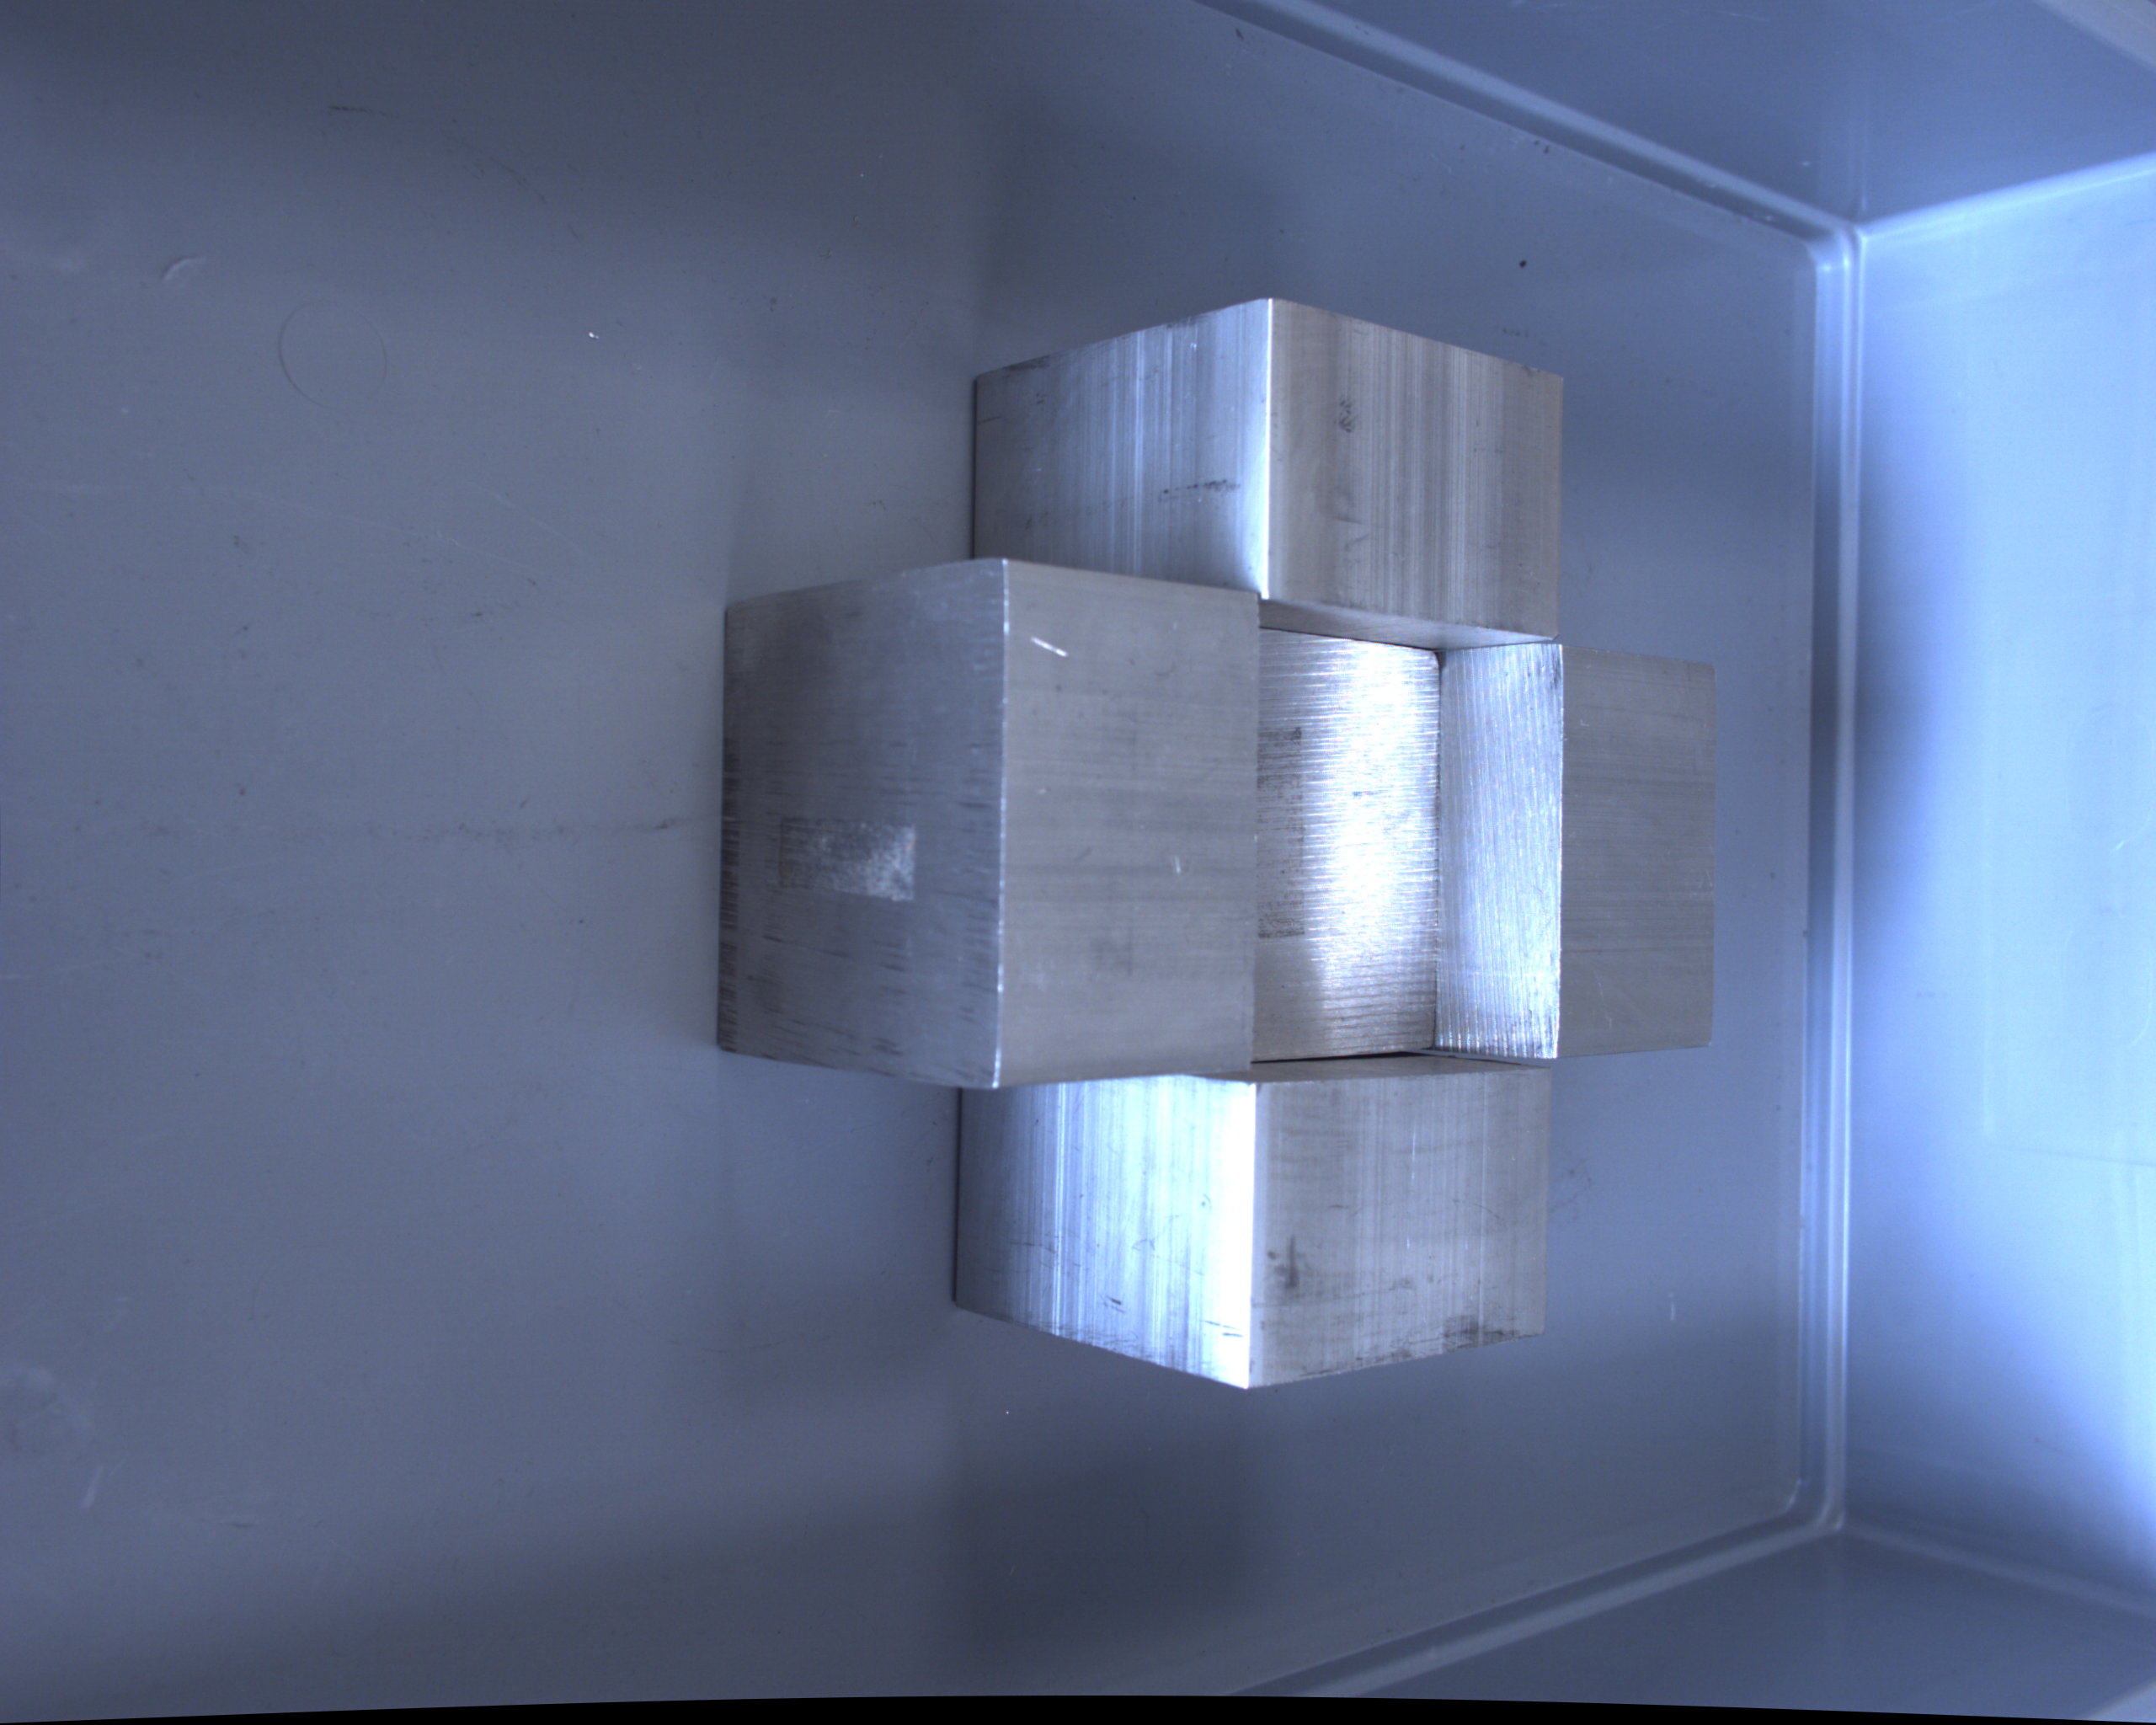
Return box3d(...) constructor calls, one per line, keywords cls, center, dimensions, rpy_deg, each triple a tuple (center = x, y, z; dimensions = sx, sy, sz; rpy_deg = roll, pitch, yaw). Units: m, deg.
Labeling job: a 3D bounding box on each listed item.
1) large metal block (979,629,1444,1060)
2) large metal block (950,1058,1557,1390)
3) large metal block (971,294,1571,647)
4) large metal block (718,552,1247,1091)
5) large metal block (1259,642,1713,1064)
box3d(cls="large metal block", center=(0.025, -0.003, 0.408), dimensions=(0.081, 0.050, 0.080), rpy_deg=(1, 90, -40))
box3d(cls="large metal block", center=(0.033, 0.062, 0.396), dimensions=(0.081, 0.080, 0.050), rpy_deg=(2, 89, -40))
box3d(cls="large metal block", center=(0.036, -0.068, 0.398), dimensions=(0.081, 0.080, 0.050), rpy_deg=(1, 90, -40))
box3d(cls="large metal block", center=(-0.018, -0.006, 0.354), dimensions=(0.050, 0.080, 0.080), rpy_deg=(1, 90, -40))
box3d(cls="large metal block", center=(0.084, -0.002, 0.440), dimensions=(0.050, 0.080, 0.080), rpy_deg=(1, 90, -40))
